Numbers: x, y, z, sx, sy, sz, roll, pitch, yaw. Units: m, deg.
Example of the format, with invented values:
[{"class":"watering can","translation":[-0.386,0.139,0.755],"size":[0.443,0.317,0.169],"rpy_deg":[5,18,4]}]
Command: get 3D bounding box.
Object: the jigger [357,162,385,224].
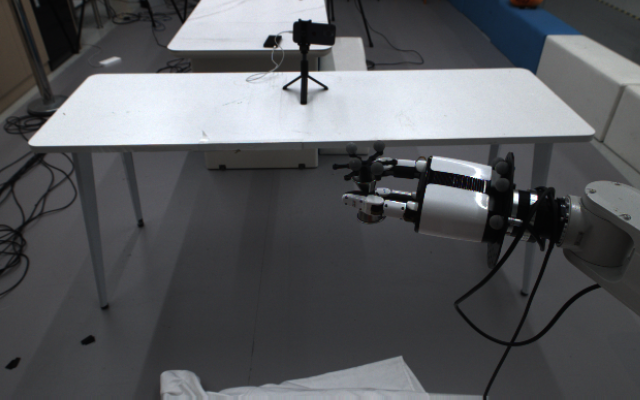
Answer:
[{"class":"jigger","translation":[0.071,-0.008,0.696],"size":[0.043,0.071,0.043],"rpy_deg":[-9,31,5]}]
